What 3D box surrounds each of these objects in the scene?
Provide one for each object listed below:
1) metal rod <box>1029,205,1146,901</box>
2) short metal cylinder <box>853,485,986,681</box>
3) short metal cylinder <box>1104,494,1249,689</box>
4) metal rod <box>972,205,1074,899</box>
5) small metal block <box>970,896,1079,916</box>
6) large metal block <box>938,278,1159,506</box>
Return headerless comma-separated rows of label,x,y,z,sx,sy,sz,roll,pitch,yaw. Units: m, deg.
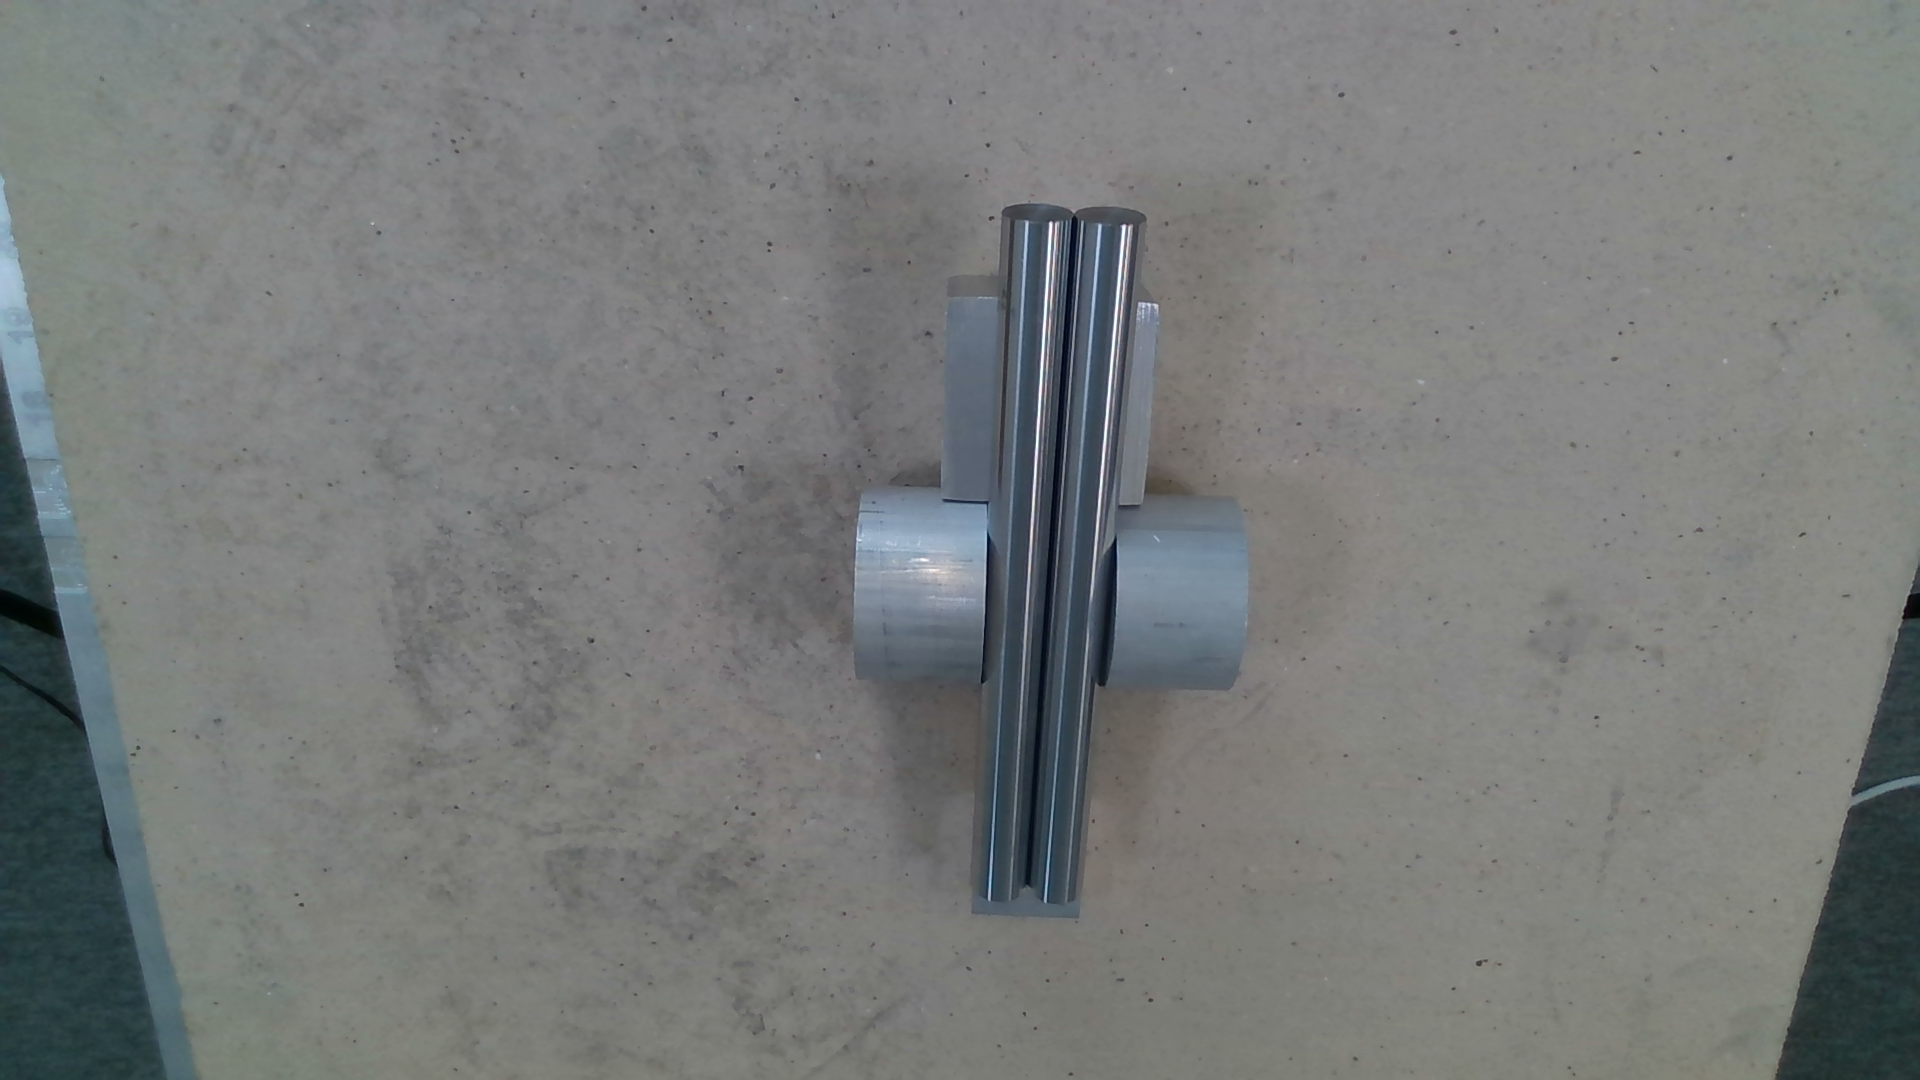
metal rod,0.047,0.020,0.545,0.025,0.025,0.301,2,118,-1
short metal cylinder,-0.016,0.017,0.562,0.050,0.080,0.080,1,110,0
short metal cylinder,0.084,0.021,0.563,0.050,0.080,0.080,1,110,0
metal rod,0.022,0.019,0.545,0.025,0.025,0.301,2,118,-1
small metal block,0.031,0.145,0.639,0.050,0.025,0.050,3,110,-1
large metal block,0.033,-0.060,0.550,0.080,0.050,0.080,2,110,-1
